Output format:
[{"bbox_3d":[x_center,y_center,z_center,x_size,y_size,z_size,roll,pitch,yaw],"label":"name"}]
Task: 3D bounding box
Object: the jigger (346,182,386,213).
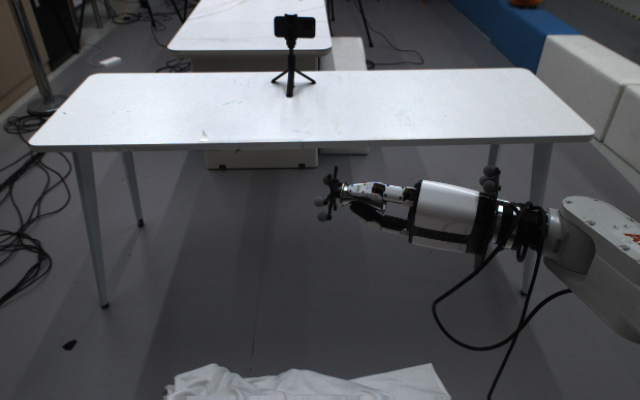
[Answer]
[{"bbox_3d":[0.075,-0.010,0.754,0.071,0.043,0.043,7,35,16],"label":"jigger"}]
